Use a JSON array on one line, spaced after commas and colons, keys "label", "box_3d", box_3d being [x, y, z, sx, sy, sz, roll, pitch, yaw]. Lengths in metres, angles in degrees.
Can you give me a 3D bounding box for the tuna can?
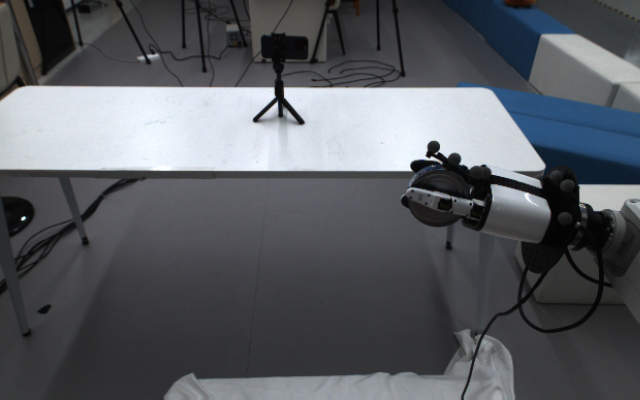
[{"label": "tuna can", "box_3d": [0.170, -0.008, 0.693, 0.085, 0.085, 0.034, 7, 17, 7]}]
